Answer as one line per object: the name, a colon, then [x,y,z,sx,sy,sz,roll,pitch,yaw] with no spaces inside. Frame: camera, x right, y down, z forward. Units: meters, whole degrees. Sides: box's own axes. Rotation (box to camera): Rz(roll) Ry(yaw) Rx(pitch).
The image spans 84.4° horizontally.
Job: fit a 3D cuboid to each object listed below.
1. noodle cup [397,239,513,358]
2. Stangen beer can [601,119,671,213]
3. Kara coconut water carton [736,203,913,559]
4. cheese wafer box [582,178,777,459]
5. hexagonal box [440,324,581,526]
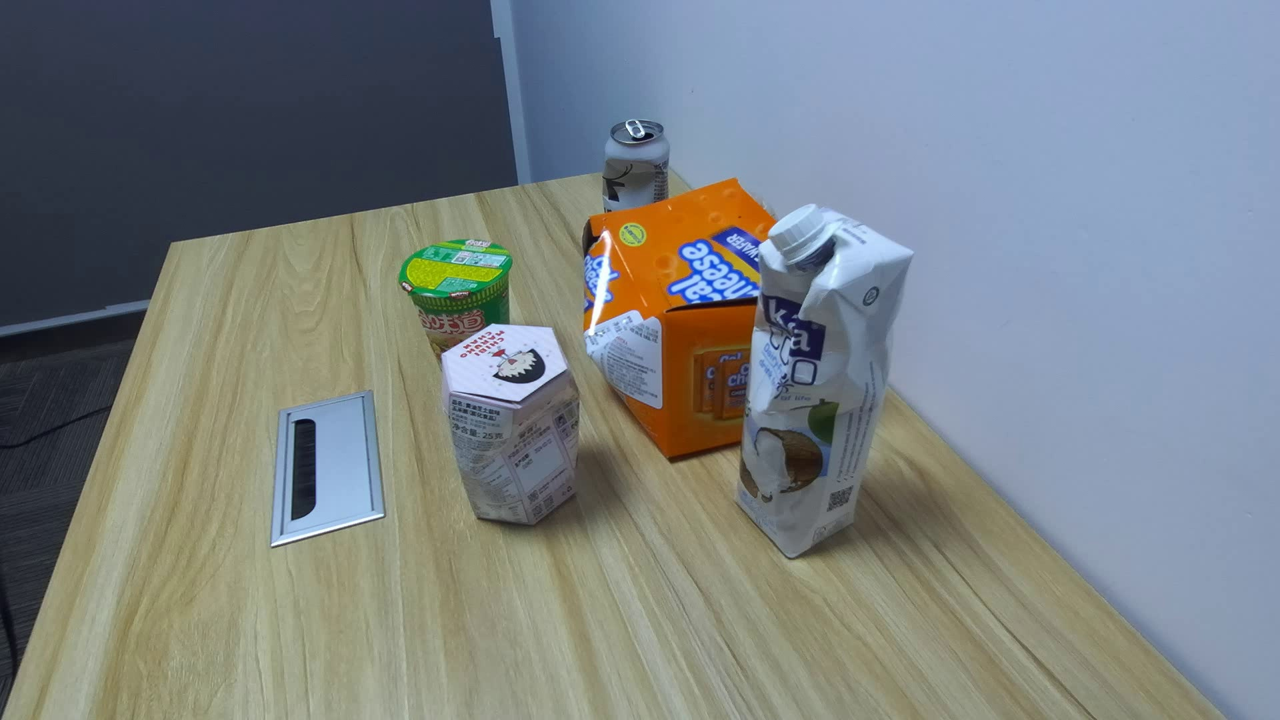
noodle cup: [-0.160,-0.036,0.647,0.097,0.110,0.097,-1,34,1]
Stangen beer can: [-0.001,-0.166,0.751,0.070,0.173,0.070,-14,42,-14]
Kara coconut water carton: [0.107,0.014,0.448,0.078,0.256,0.083,-15,41,-13]
cheese wafer box: [0.044,-0.045,0.619,0.192,0.145,0.218,-12,39,-14]
hexagonal box: [-0.087,0.049,0.513,0.091,0.135,0.090,-5,41,-5]
